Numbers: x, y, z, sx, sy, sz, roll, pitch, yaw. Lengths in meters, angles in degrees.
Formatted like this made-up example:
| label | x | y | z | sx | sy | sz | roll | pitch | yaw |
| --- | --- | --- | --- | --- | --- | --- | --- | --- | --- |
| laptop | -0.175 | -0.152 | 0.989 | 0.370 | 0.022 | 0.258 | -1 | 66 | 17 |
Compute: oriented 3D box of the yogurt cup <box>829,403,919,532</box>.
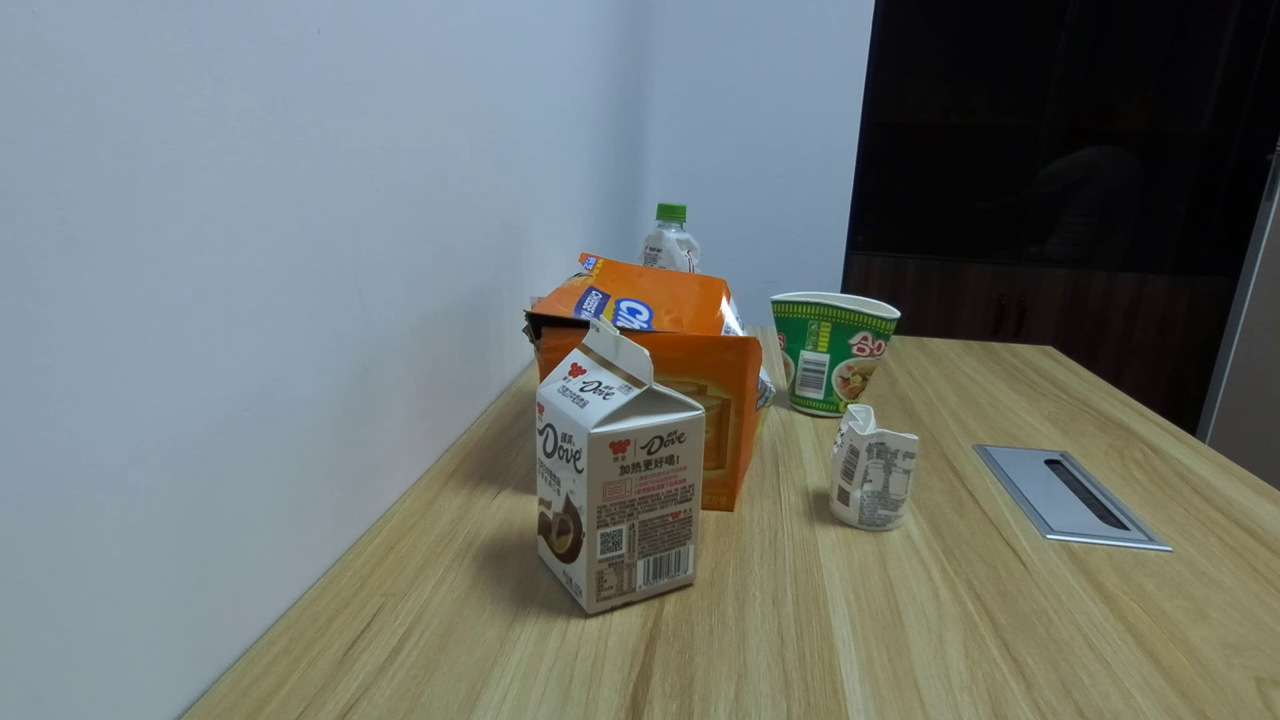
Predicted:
| label | x | y | z | sx | sy | sz | roll | pitch | yaw |
| --- | --- | --- | --- | --- | --- | --- | --- | --- | --- |
| yogurt cup | 0.162 | 0.075 | 0.496 | 0.055 | 0.072 | 0.055 | 4 | 19 | 12 |

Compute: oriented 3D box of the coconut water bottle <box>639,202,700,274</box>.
| label | x | y | z | sx | sy | sz | roll | pitch | yaw |
| --- | --- | --- | --- | --- | --- | --- | --- | --- | --- |
| coconut water bottle | 0.031 | -0.072 | 0.751 | 0.067 | 0.186 | 0.067 | 2 | 7 | 0 |

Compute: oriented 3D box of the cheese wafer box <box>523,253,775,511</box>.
| label | x | y | z | sx | sy | sz | roll | pitch | yaw |
| --- | --- | --- | --- | --- | --- | --- | --- | --- | --- |
| cheese wafer box | 0.019 | 0.003 | 0.584 | 0.191 | 0.145 | 0.219 | 4 | 17 | 3 |

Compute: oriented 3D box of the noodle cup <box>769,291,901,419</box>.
| label | x | y | z | sx | sy | sz | roll | pitch | yaw |
| --- | --- | --- | --- | --- | --- | --- | --- | --- | --- |
| noodle cup | 0.187 | -0.007 | 0.696 | 0.070 | 0.111 | 0.114 | -13 | 24 | -38 |

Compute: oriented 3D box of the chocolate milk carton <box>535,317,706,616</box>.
| label | x | y | z | sx | sy | sz | roll | pitch | yaw |
| --- | --- | --- | --- | --- | --- | --- | --- | --- | --- |
| chocolate milk carton | -0.012 | 0.054 | 0.405 | 0.074 | 0.148 | 0.075 | -8 | 19 | -29 |
